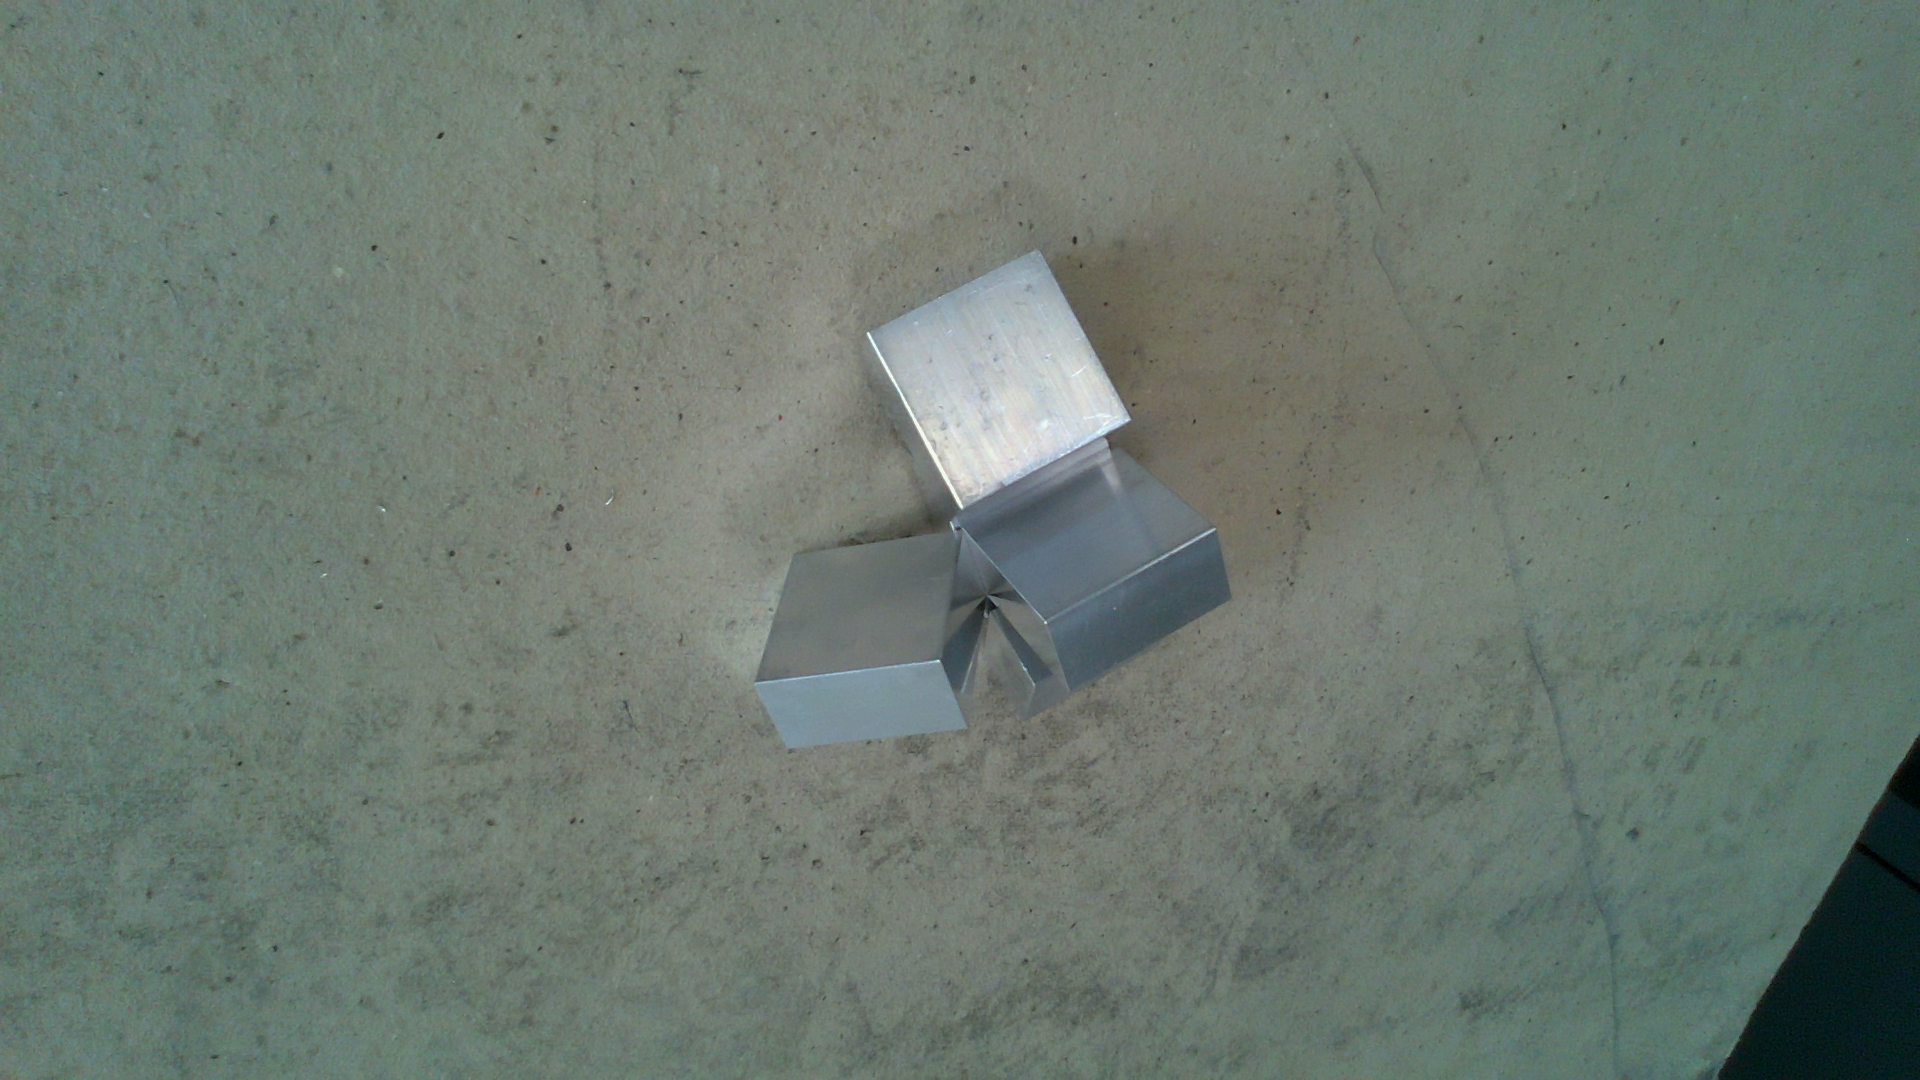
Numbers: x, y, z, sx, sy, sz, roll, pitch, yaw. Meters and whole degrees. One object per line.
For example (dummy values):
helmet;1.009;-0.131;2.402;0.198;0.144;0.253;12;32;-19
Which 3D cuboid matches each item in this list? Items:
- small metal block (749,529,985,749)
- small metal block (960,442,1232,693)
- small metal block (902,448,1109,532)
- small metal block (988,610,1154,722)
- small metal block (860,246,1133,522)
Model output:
small metal block;-0.023;0.026;0.365;0.050;0.050;0.025;-8;129;15
small metal block;0.035;0.006;0.364;0.050;0.050;0.025;-28;129;-10
small metal block;0.016;-0.014;0.390;0.050;0.025;0.050;-27;127;-9
small metal block;0.036;0.026;0.409;0.050;0.025;0.050;-28;164;-10
small metal block;0.008;-0.039;0.354;0.050;0.025;0.050;-28;88;-10
